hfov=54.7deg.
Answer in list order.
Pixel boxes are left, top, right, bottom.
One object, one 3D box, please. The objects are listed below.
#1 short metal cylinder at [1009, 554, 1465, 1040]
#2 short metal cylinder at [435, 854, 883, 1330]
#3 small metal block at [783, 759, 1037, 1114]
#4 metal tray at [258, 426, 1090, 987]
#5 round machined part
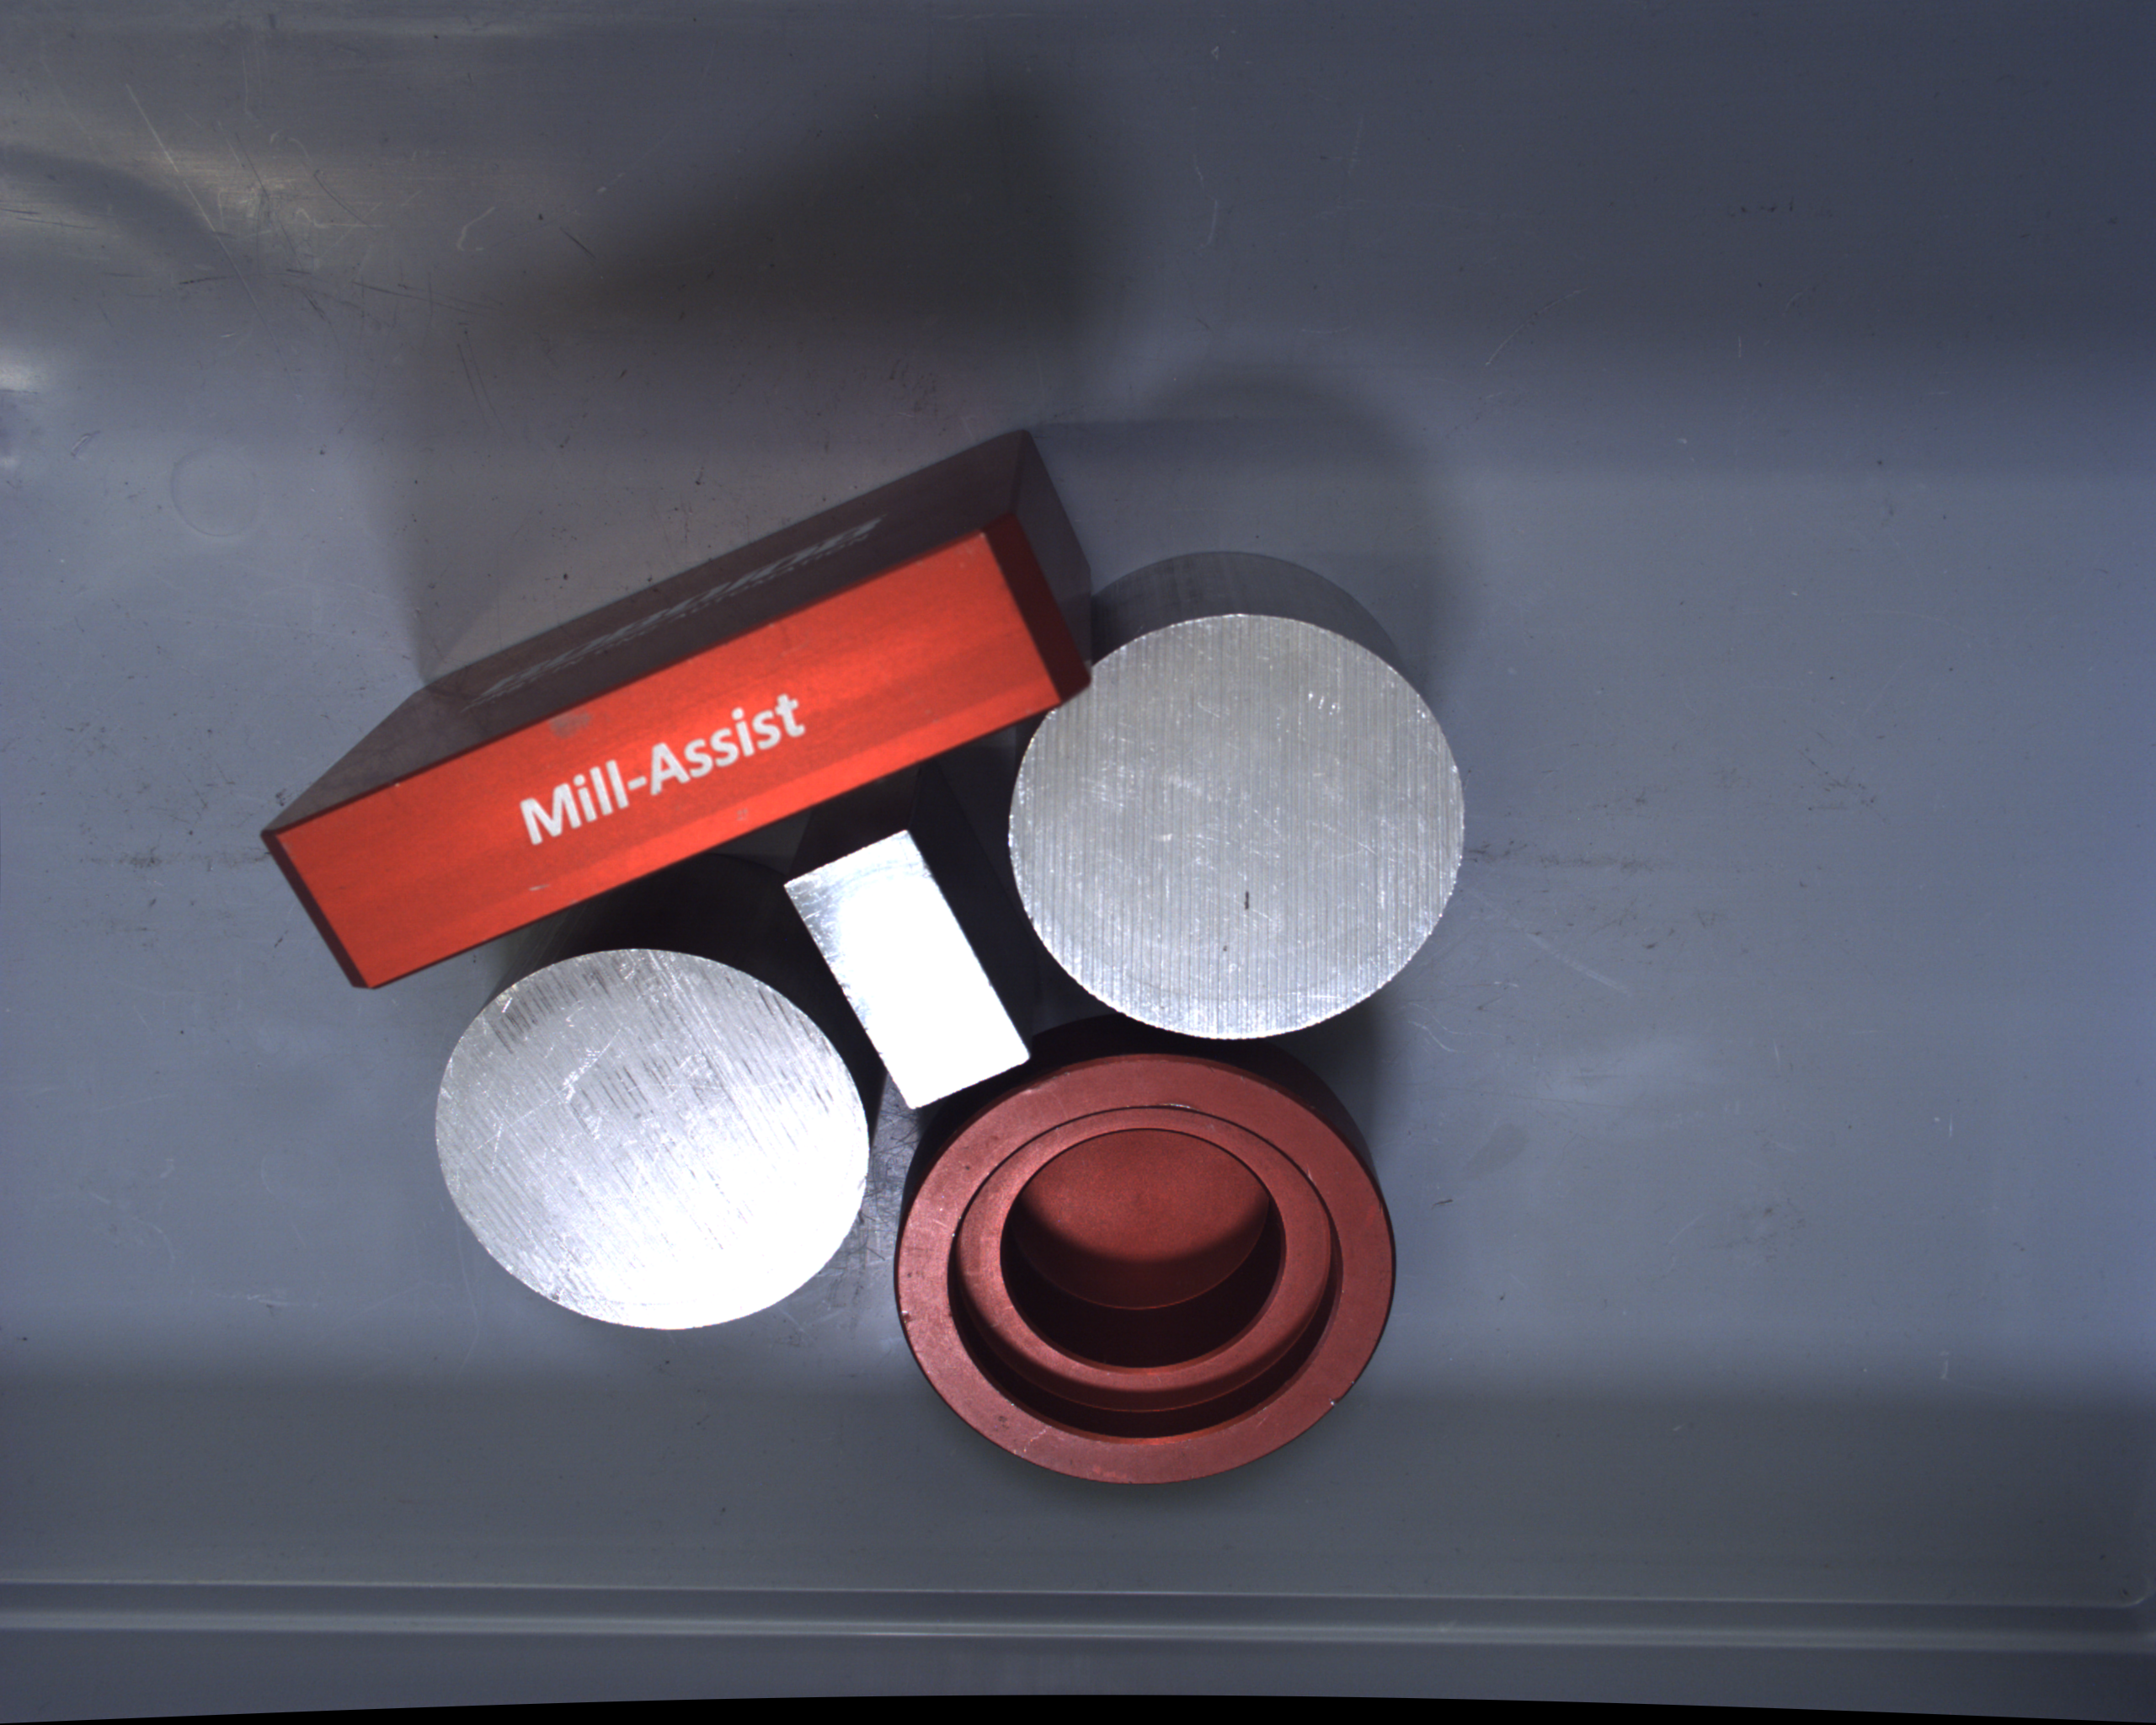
[{"bbox_3d":[0.028,-0.013,0.391,0.081,0.050,0.079,0,110,0],"label":"short metal cylinder"},{"bbox_3d":[-0.079,0.044,0.411,0.081,0.050,0.079,0,110,0],"label":"short metal cylinder"},{"bbox_3d":[-0.030,0.012,0.399,0.025,0.050,0.050,-24,109,8],"label":"small metal block"},{"bbox_3d":[-0.064,-0.030,0.362,0.130,0.090,0.030,-22,109,8],"label":"metal tray"},{"bbox_3d":[0.013,0.075,0.428,0.099,0.042,0.097,0,110,0],"label":"round machined part"}]
